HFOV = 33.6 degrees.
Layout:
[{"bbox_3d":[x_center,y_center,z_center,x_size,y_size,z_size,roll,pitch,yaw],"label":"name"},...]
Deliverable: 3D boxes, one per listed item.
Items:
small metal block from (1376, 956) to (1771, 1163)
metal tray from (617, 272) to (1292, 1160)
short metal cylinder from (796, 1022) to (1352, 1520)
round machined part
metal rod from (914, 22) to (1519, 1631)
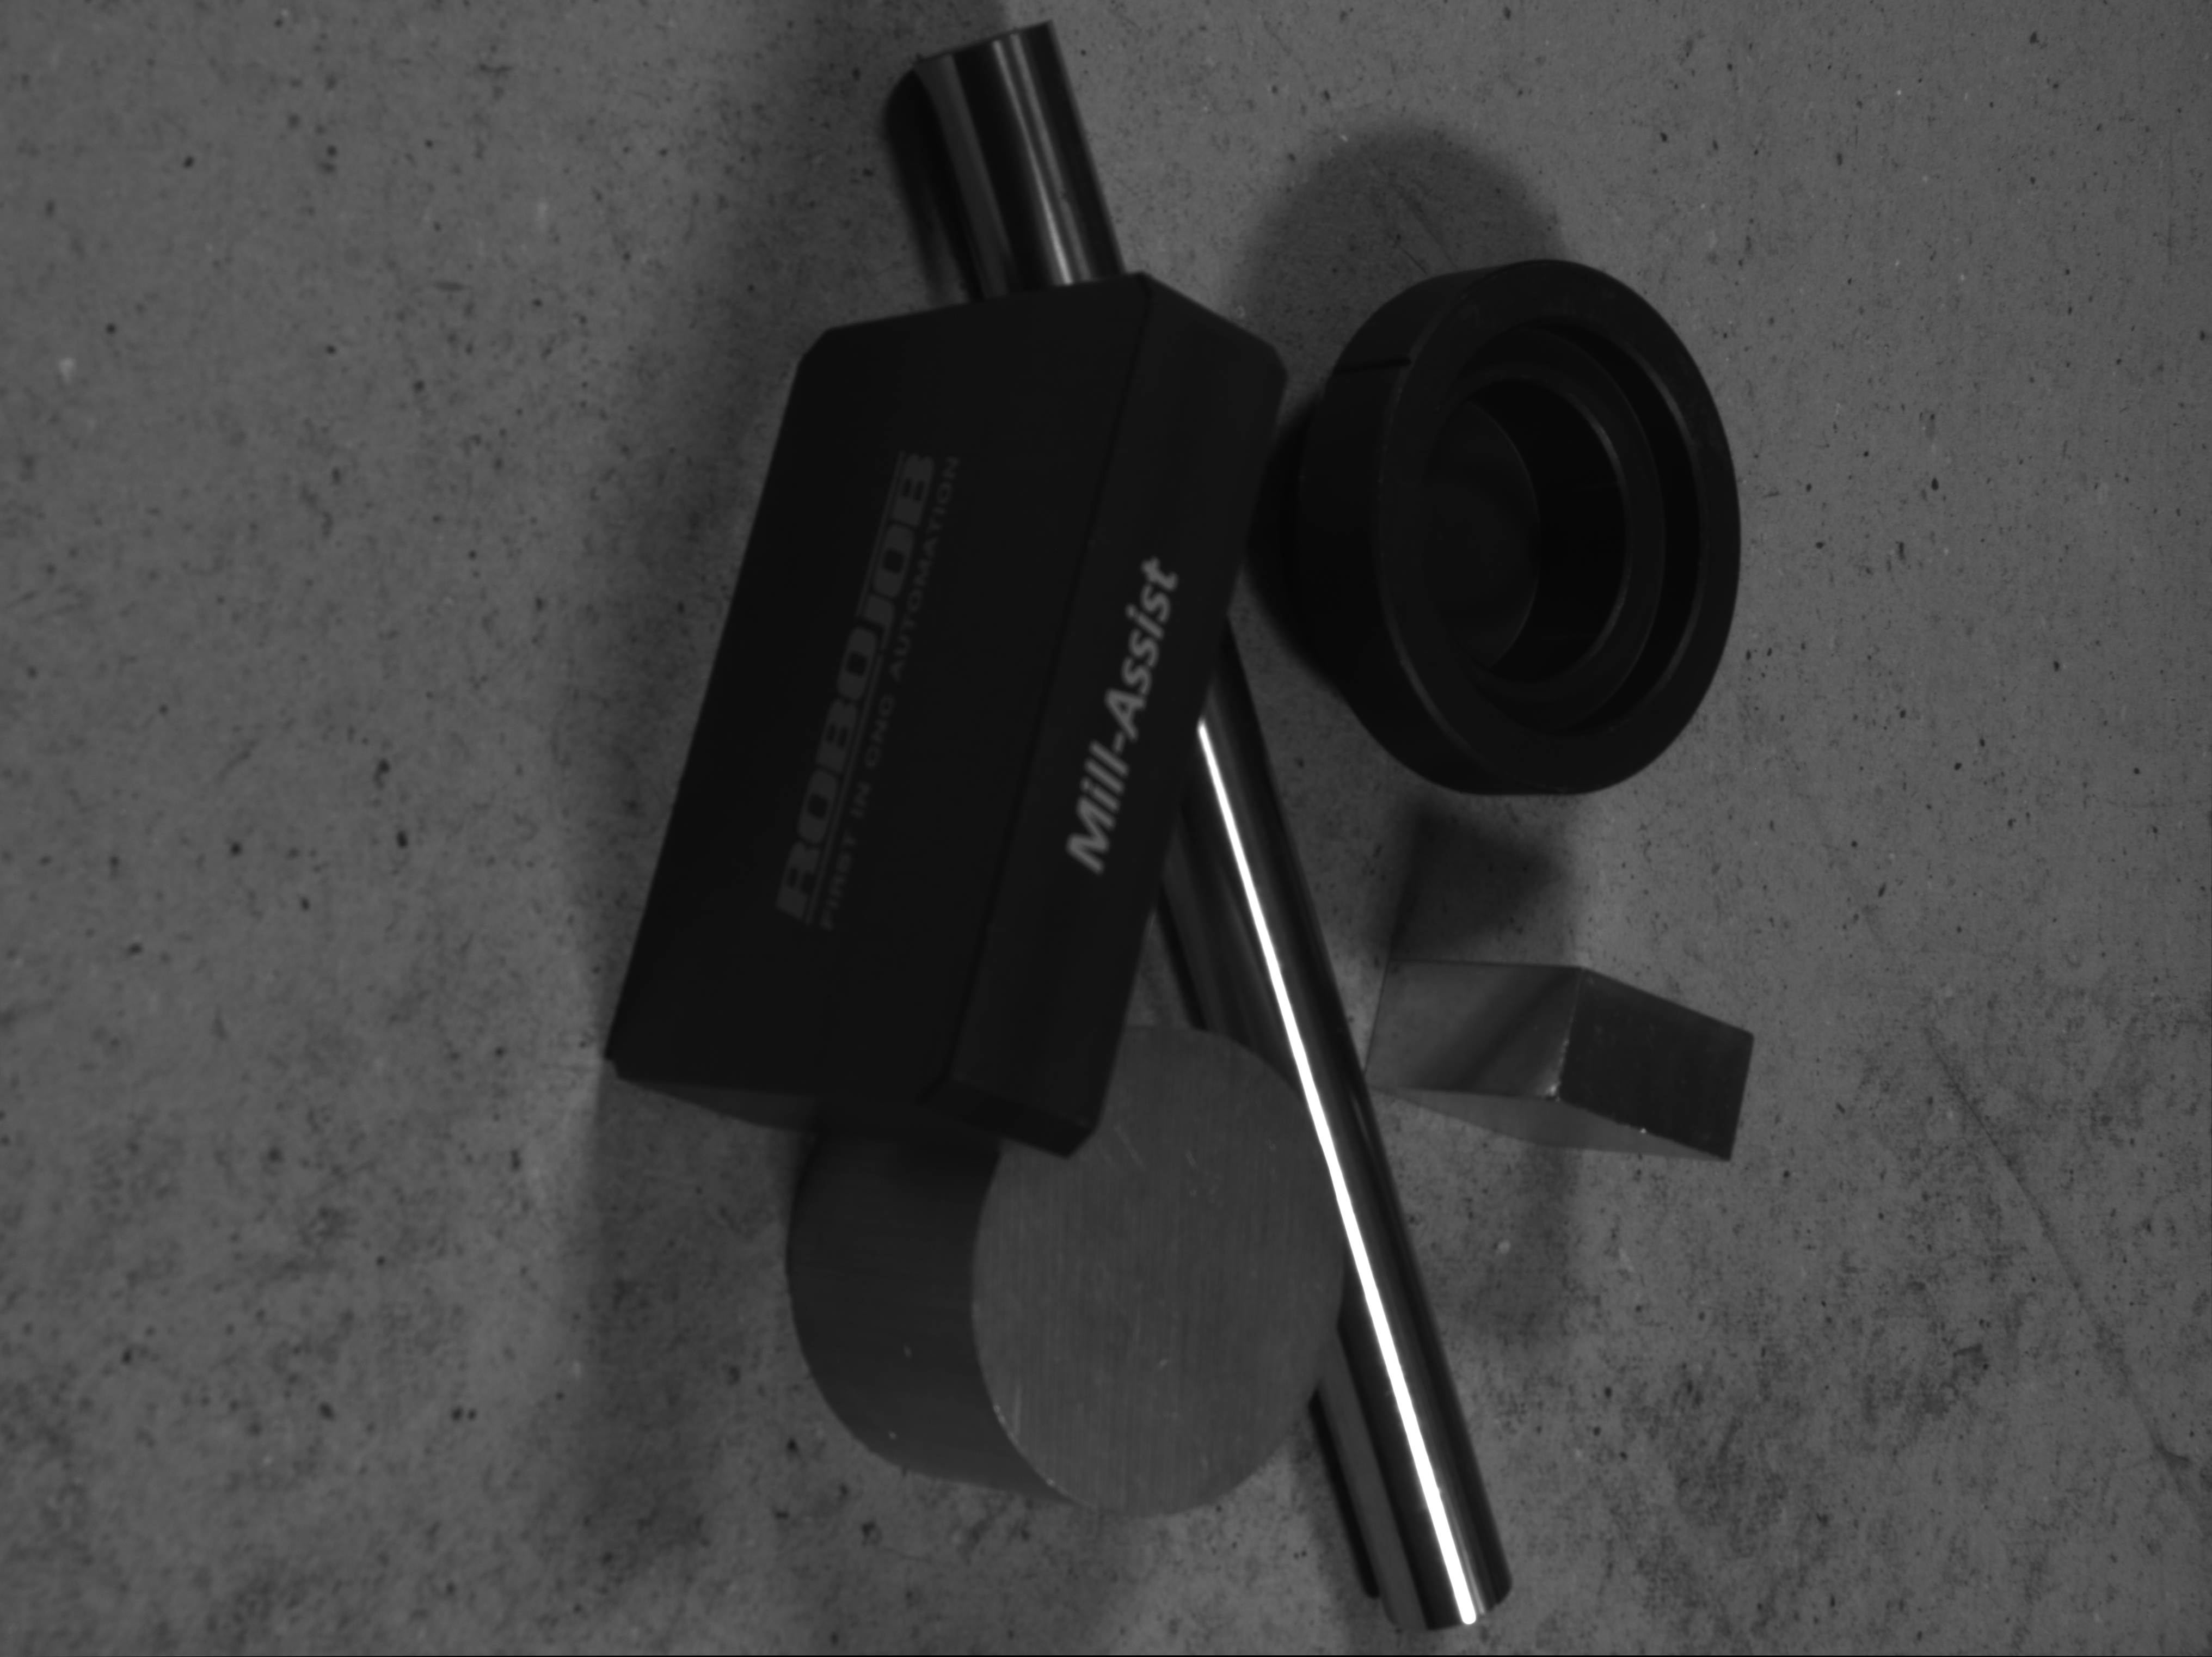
[{"bbox_3d":[0.088,0.043,0.691,0.050,0.050,0.025,21,76,-38],"label":"small metal block"},{"bbox_3d":[-0.025,-0.017,0.575,0.030,0.090,0.130,23,75,-37],"label":"metal tray"},{"bbox_3d":[-0.005,0.073,0.617,0.080,0.050,0.080,0,90,-40],"label":"short metal cylinder"},{"bbox_3d":[0.072,-0.055,0.687,0.098,0.042,0.098,0,90,-40],"label":"round machined part"},{"bbox_3d":[0.023,0.006,0.657,0.025,0.025,0.300,-28,107,-36],"label":"metal rod"}]
